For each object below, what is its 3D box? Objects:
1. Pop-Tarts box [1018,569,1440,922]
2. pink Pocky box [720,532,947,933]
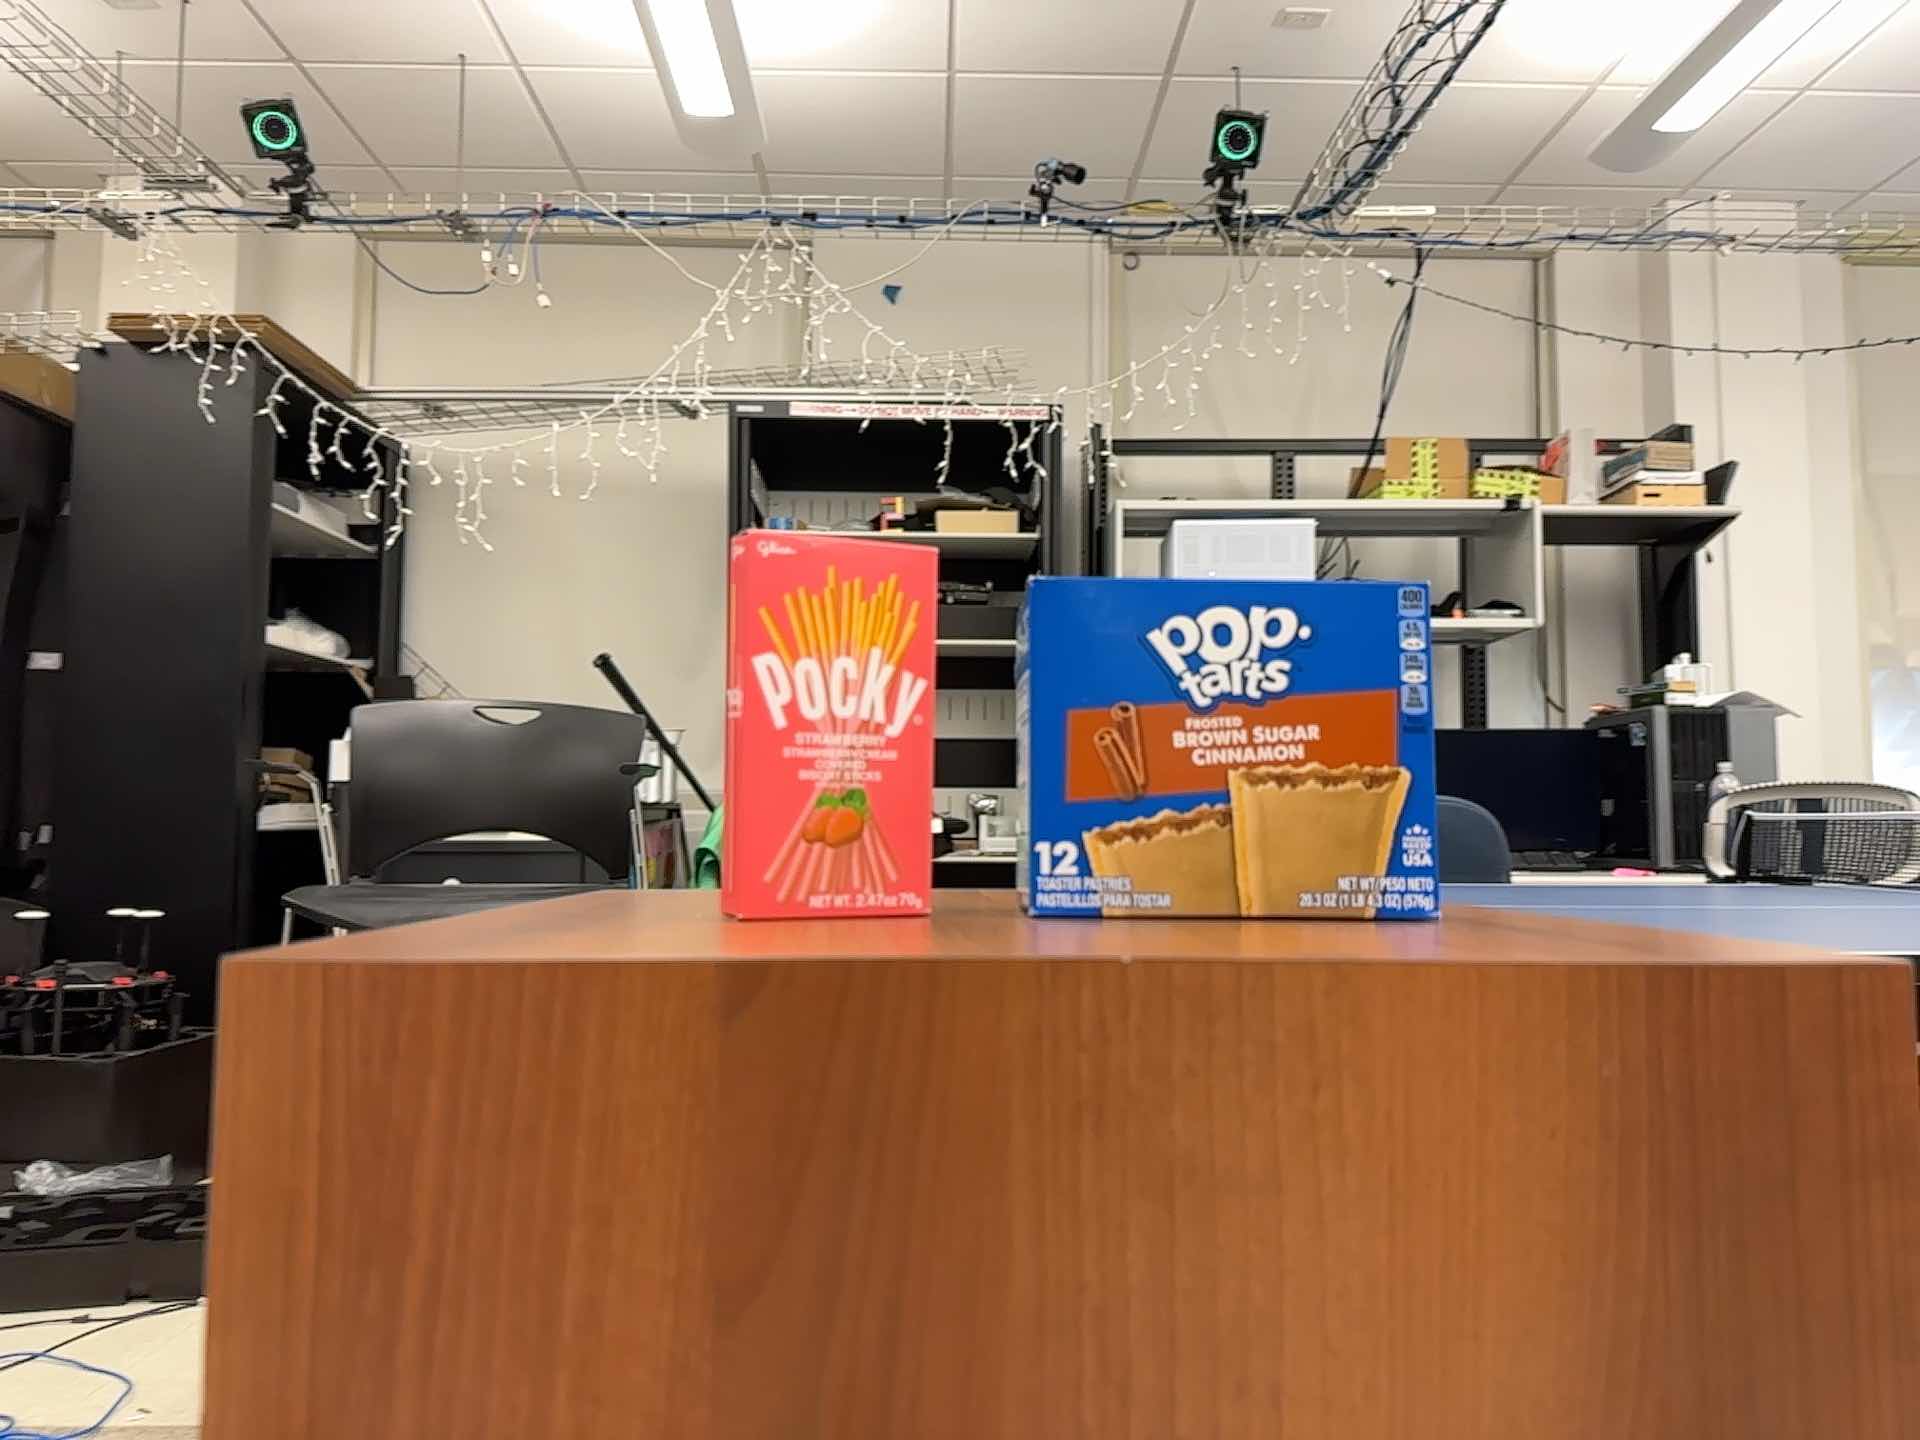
[{"bbox_3d":[0.111,0.014,0.581,0.161,0.135,0.075,2,-7,-2],"label":"Pop-Tarts box"},{"bbox_3d":[-0.049,0.006,0.539,0.084,0.155,0.029,3,-4,-23],"label":"pink Pocky box"}]
